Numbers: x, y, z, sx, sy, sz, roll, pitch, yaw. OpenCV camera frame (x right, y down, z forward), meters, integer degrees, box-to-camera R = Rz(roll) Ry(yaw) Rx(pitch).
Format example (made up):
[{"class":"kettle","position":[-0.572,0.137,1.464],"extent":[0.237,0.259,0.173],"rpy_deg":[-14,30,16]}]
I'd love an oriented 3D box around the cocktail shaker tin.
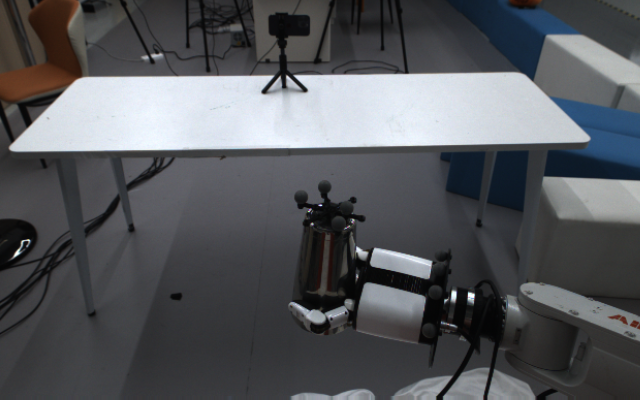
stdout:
[{"class":"cocktail shaker tin","position":[0.010,0.090,0.656],"extent":[0.093,0.170,0.093],"rpy_deg":[3,34,-2]}]
